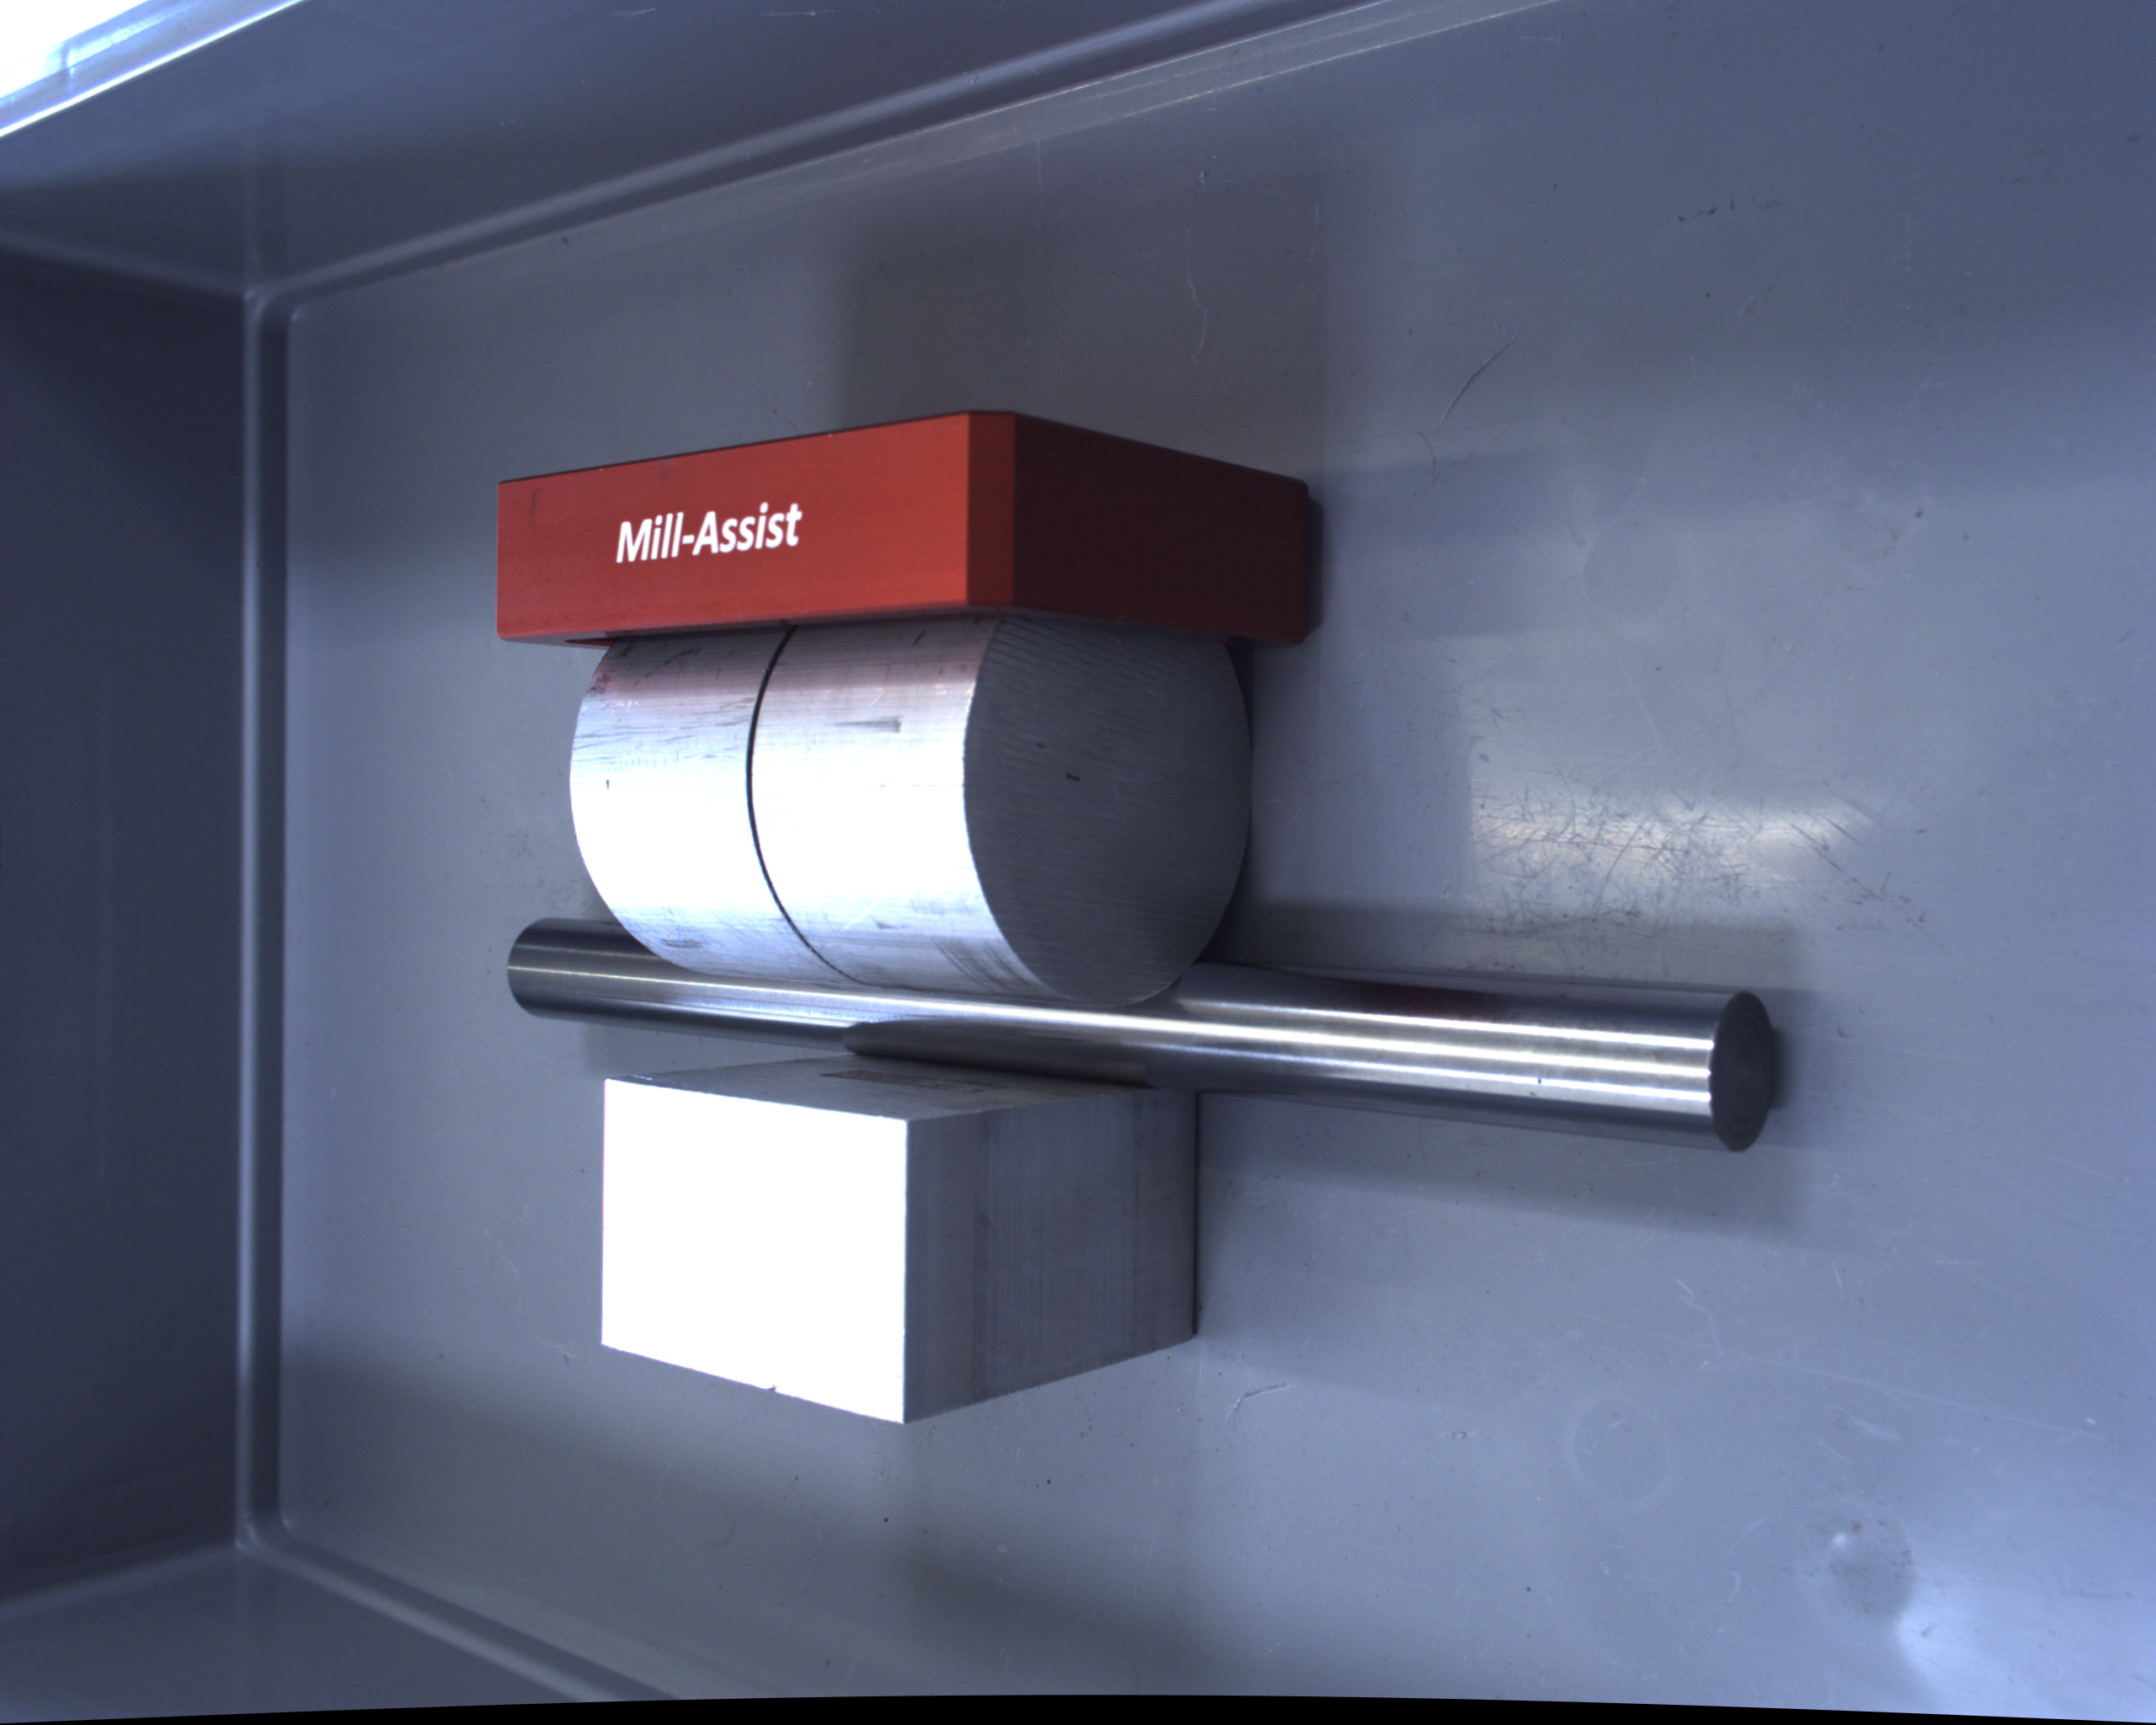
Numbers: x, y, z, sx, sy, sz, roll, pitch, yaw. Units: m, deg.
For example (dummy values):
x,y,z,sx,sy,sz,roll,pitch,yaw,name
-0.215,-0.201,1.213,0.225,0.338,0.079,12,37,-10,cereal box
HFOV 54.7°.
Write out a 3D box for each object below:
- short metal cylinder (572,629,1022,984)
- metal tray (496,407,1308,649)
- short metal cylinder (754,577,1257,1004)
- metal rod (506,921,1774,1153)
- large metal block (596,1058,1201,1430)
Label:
x,y,z,sx,sy,sz,roll,pitch,yaw,name
-0.051,-0.016,0.412,0.050,0.081,0.079,1,91,40,short metal cylinder
-0.034,-0.056,0.390,0.130,0.091,0.030,2,91,40,metal tray
-0.011,-0.016,0.379,0.050,0.081,0.079,2,92,40,short metal cylinder
-0.014,0.029,0.415,0.300,0.025,0.025,2,91,40,metal rod
-0.033,0.067,0.395,0.080,0.081,0.050,1,91,40,large metal block
